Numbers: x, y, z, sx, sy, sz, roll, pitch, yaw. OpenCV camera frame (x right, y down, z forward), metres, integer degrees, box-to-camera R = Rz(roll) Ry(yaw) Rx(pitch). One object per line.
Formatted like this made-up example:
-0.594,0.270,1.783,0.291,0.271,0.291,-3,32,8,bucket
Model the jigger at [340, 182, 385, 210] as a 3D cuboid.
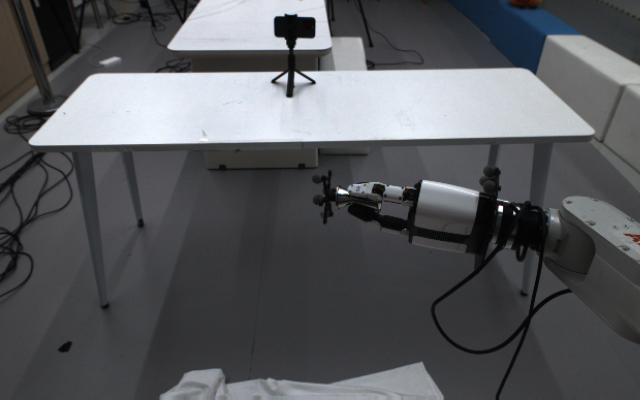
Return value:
0.068,-0.007,0.765,0.071,0.043,0.043,2,34,14,jigger
